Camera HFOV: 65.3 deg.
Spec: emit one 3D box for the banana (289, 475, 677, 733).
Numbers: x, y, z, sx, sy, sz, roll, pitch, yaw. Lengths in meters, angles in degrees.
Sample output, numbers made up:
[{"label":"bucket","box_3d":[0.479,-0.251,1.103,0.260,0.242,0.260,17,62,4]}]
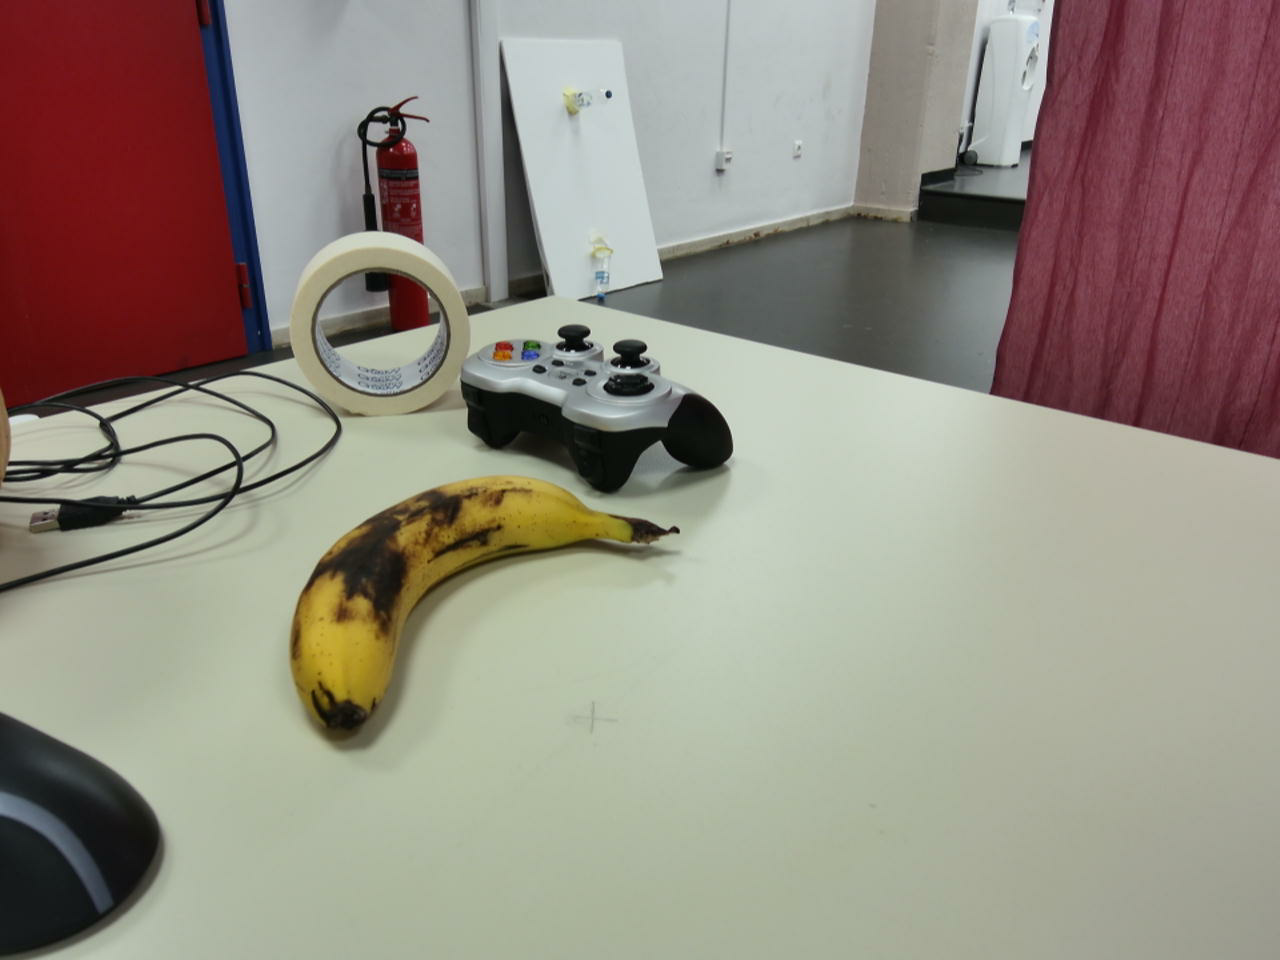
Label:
[{"label":"banana","box_3d":[-0.078,0.035,0.414,0.094,0.039,0.187,17,27,33]}]
